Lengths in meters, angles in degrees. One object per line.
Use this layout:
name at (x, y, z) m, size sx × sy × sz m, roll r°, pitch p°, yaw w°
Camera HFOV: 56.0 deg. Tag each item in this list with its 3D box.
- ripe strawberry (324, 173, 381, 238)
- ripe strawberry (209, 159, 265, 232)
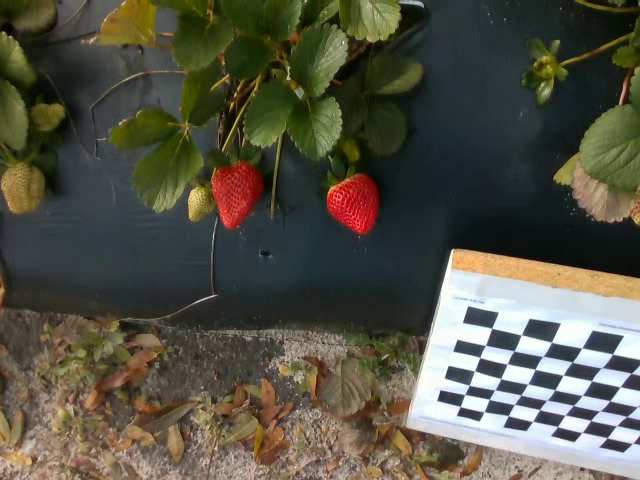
ripe strawberry at (0.019, -0.018, 0.328) m, size 0.033 × 0.039 × 0.038 m, roll 1°, pitch -29°, yaw -10°
ripe strawberry at (-0.049, -0.026, 0.339) m, size 0.035 × 0.036 × 0.041 m, roll 3°, pitch -18°, yaw 23°
